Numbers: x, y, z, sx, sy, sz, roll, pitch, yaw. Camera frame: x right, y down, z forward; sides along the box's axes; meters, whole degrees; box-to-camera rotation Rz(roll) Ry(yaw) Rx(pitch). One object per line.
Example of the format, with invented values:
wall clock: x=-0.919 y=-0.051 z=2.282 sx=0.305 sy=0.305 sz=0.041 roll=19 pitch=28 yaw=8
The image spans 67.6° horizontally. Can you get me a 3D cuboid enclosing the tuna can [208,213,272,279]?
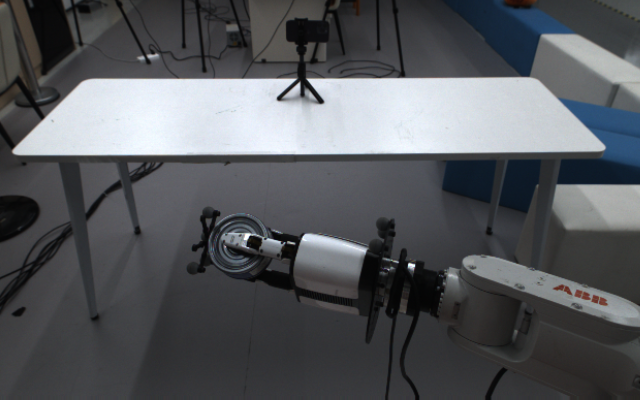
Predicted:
tuna can: x=-0.104 y=0.061 z=0.651 sx=0.085 sy=0.034 sz=0.085 roll=-2 pitch=69 yaw=6
